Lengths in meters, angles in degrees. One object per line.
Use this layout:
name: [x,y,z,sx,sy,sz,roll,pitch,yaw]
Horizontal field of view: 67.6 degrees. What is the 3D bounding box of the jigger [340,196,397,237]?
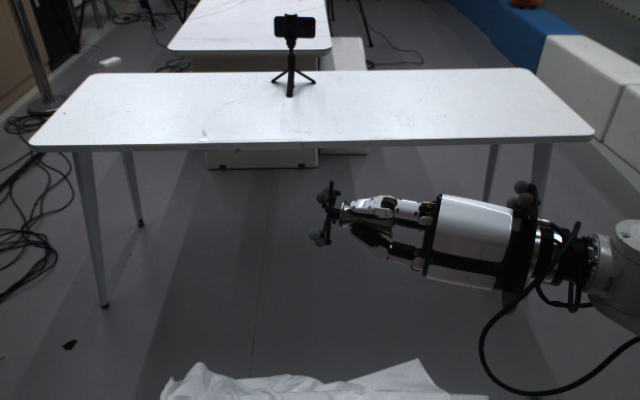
jigger: [0.069,0.020,0.629,0.071,0.043,0.043,7,35,12]
